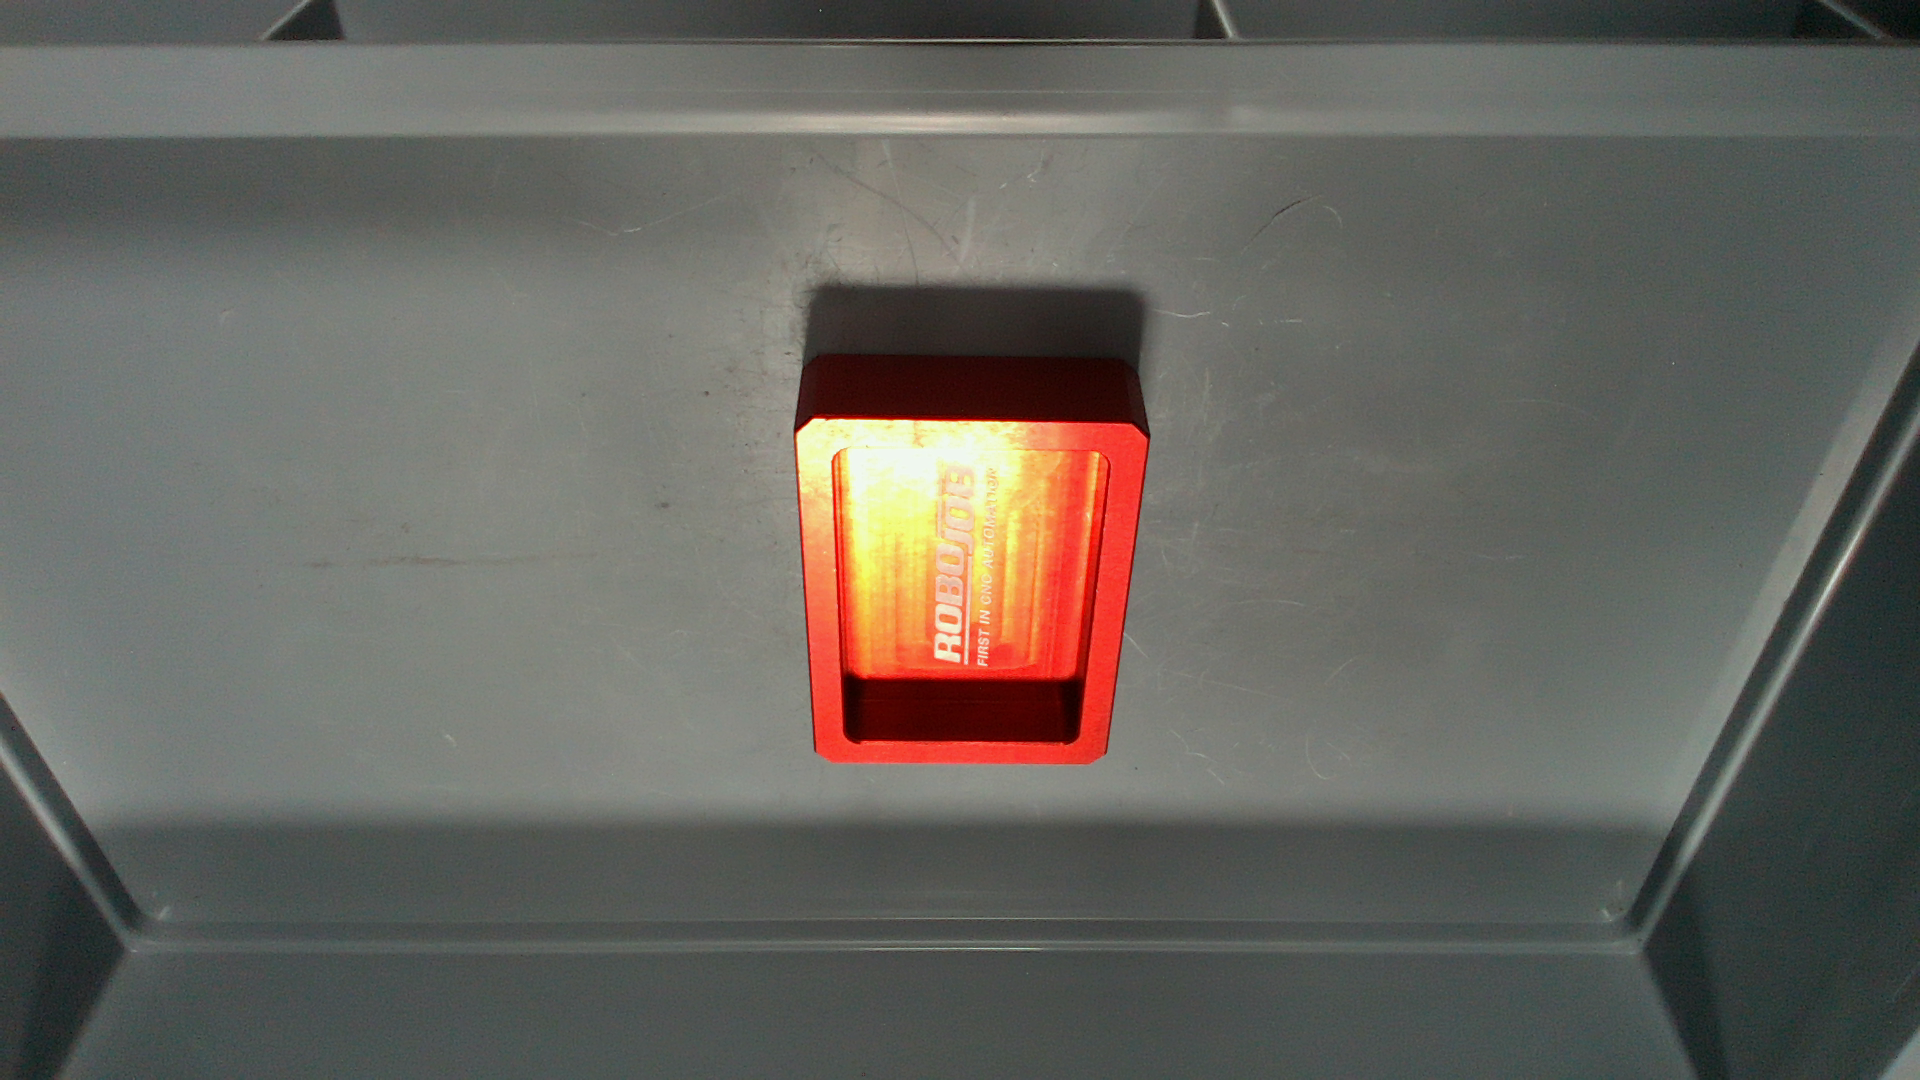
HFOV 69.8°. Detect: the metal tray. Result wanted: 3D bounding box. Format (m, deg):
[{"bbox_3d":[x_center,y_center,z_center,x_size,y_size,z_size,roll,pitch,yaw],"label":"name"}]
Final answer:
[{"bbox_3d":[0.002,0.010,0.392,0.090,0.030,0.130,1,130,-2],"label":"metal tray"}]
